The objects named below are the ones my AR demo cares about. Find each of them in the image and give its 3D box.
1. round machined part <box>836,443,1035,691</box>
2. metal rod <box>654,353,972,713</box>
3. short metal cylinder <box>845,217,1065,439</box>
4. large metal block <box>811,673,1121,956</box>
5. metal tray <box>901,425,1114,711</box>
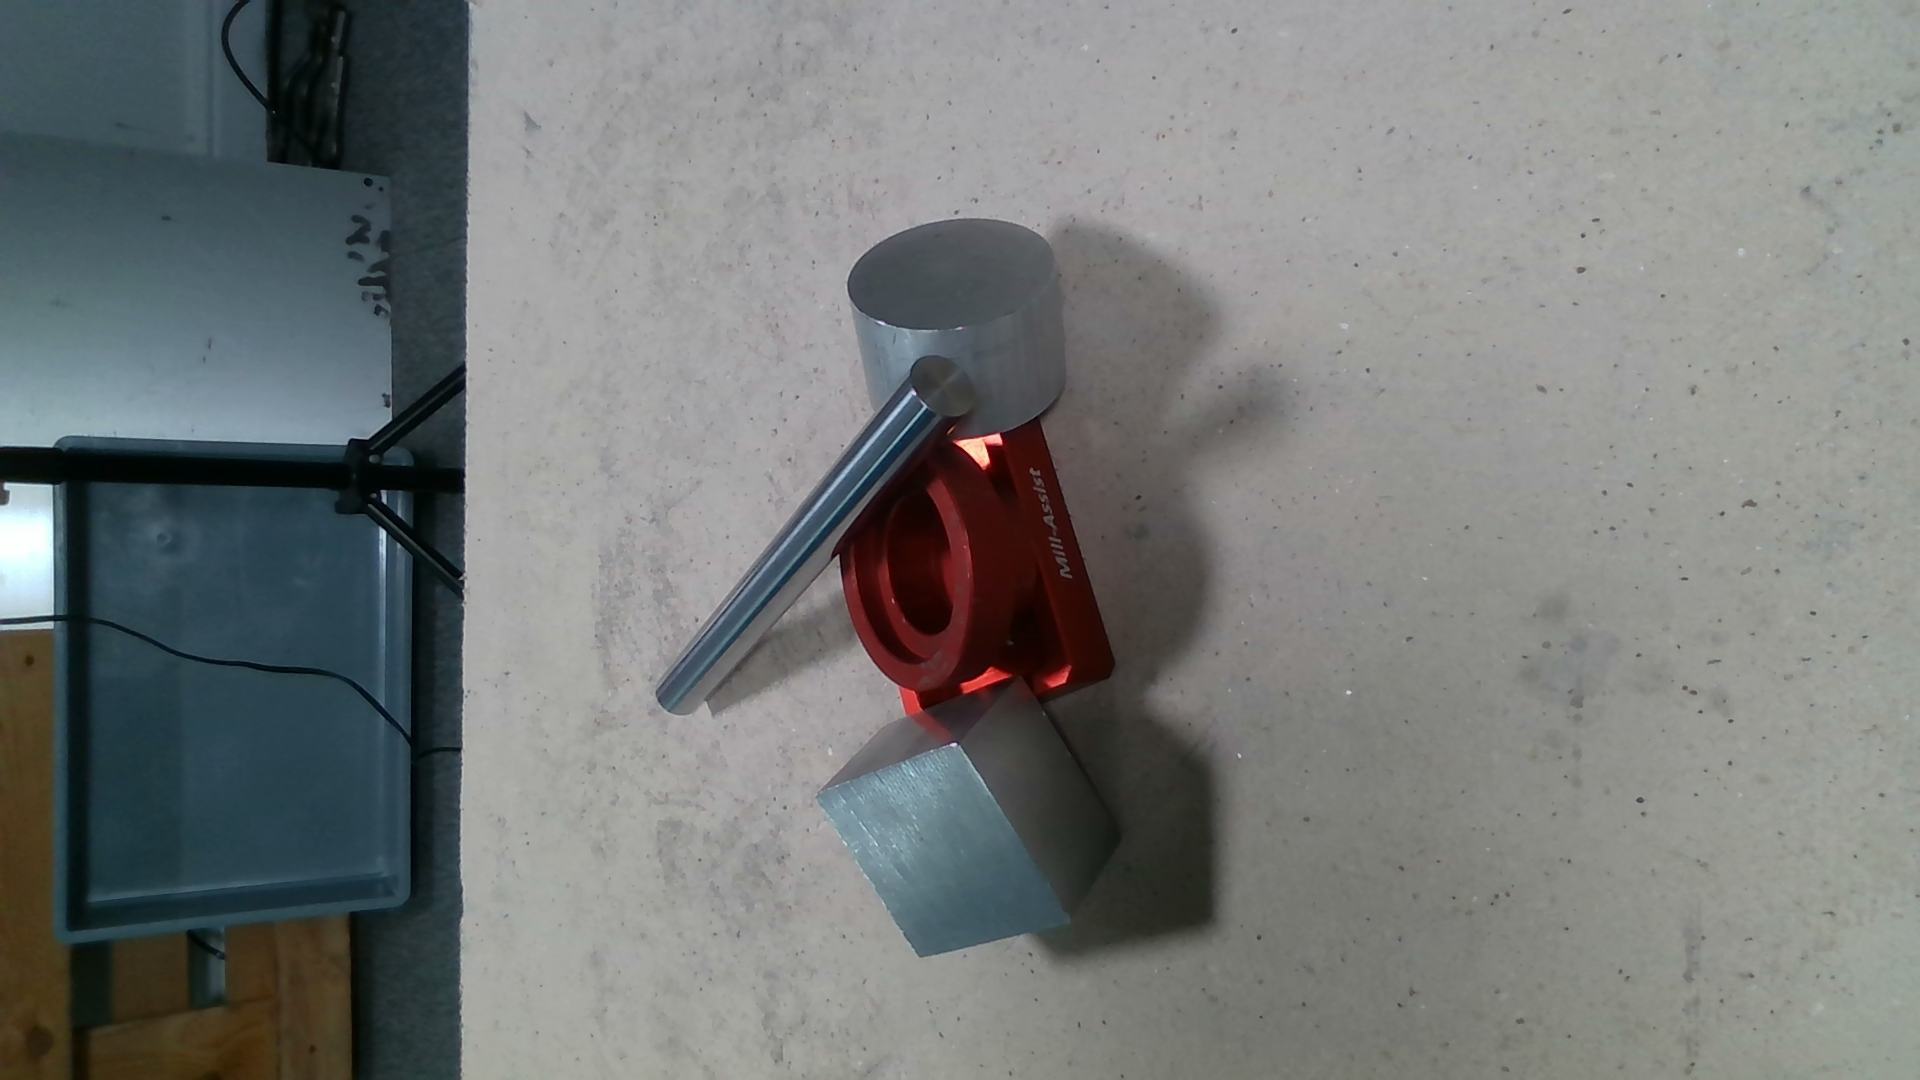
[{"bbox_3d":[-0.007,0.008,0.546,0.098,0.042,0.098,11,104,54],"label":"round machined part"},{"bbox_3d":[-0.076,0.012,0.589,0.301,0.025,0.025,-43,63,51],"label":"metal rod"},{"bbox_3d":[-0.001,-0.084,0.537,0.080,0.080,0.050,30,145,36],"label":"short metal cylinder"},{"bbox_3d":[0.003,0.110,0.543,0.080,0.050,0.080,-26,100,37],"label":"large metal block"},{"bbox_3d":[0.004,0.008,0.576,0.090,0.030,0.130,-26,74,37],"label":"metal tray"}]
